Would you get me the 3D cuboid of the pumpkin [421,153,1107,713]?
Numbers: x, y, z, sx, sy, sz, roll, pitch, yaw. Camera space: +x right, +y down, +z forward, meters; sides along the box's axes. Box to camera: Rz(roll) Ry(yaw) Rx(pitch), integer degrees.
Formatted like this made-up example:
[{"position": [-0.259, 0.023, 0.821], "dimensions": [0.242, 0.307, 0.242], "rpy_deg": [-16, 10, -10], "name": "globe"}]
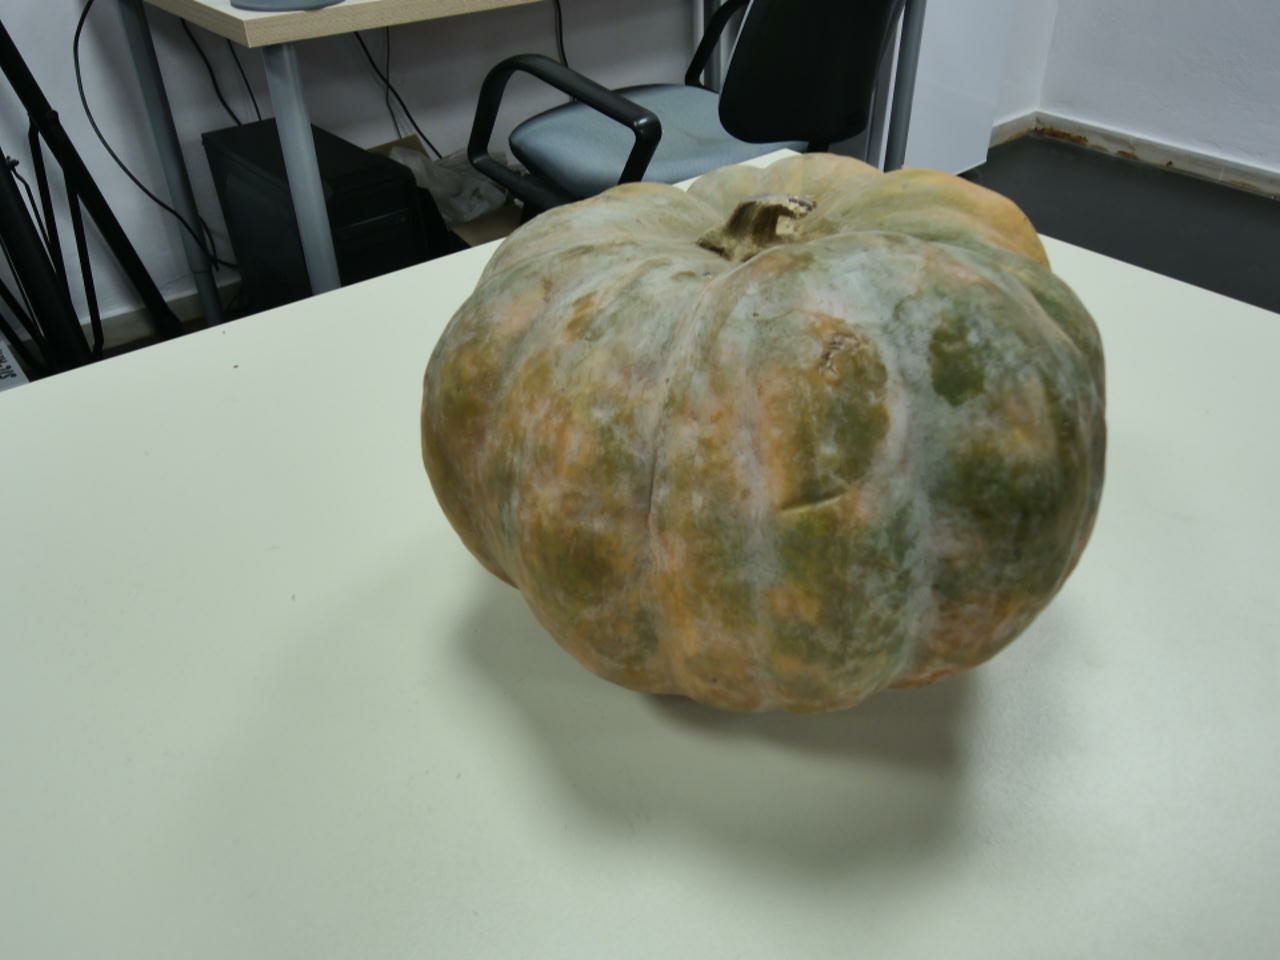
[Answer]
[{"position": [0.045, -0.027, 0.375], "dimensions": [0.252, 0.169, 0.251], "rpy_deg": [0, 35, 0], "name": "pumpkin"}]
